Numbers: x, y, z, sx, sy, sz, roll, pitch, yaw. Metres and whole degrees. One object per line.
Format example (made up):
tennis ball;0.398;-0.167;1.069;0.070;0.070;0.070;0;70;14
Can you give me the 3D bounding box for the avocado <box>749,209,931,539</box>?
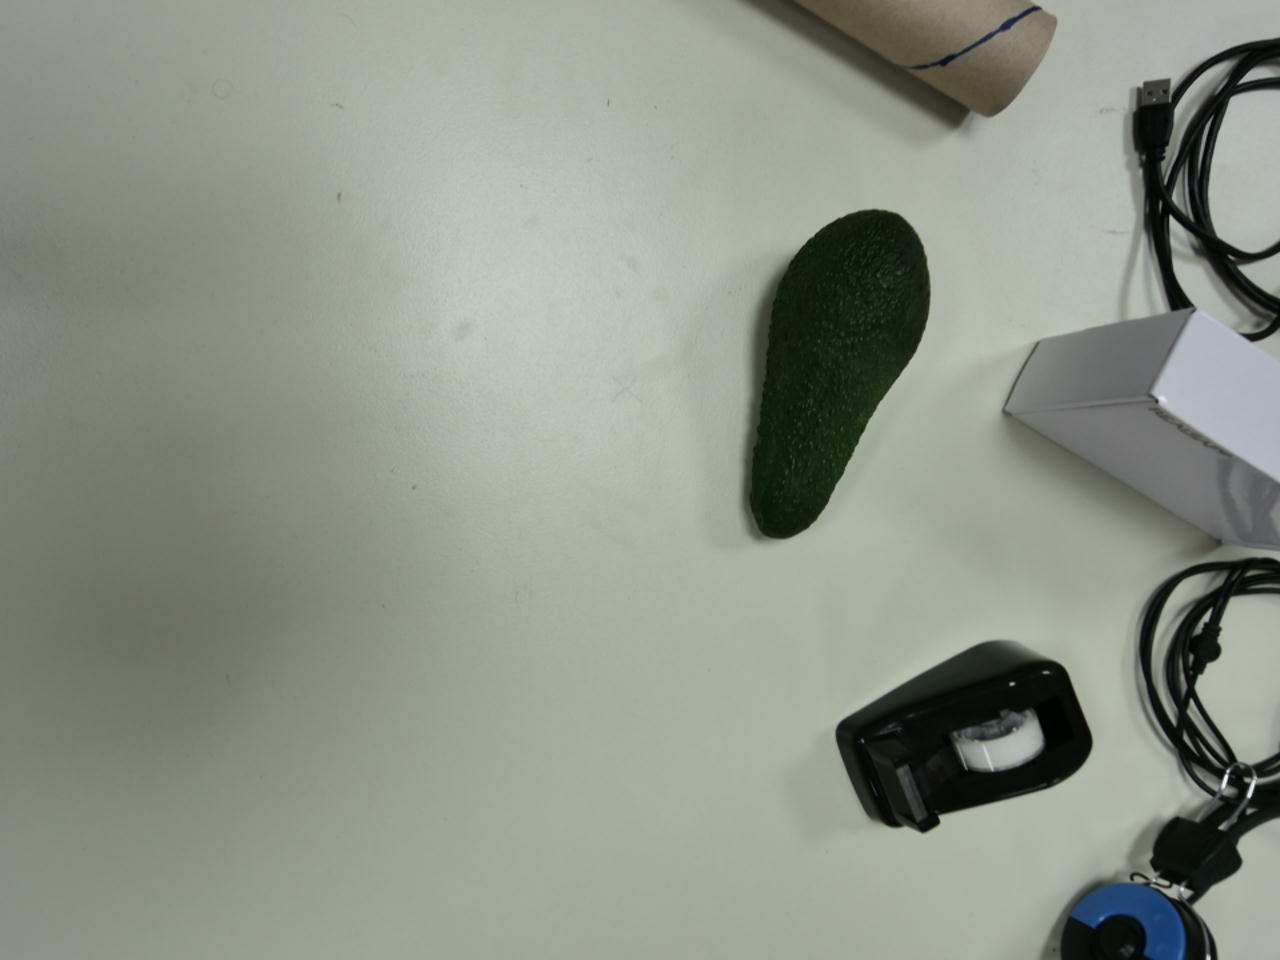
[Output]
avocado;0.085;-0.042;0.415;0.063;0.067;0.141;6;90;-11
